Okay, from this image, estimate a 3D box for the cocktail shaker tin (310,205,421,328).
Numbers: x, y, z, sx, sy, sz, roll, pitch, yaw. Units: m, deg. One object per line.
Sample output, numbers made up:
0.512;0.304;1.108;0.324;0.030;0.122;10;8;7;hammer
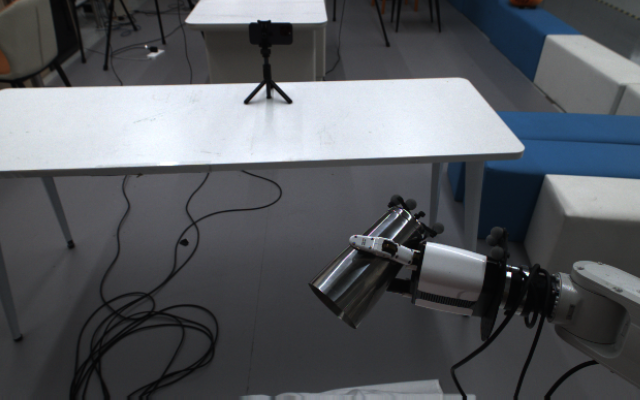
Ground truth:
0.074;0.086;0.701;0.170;0.093;0.093;-43;50;-14;cocktail shaker tin
